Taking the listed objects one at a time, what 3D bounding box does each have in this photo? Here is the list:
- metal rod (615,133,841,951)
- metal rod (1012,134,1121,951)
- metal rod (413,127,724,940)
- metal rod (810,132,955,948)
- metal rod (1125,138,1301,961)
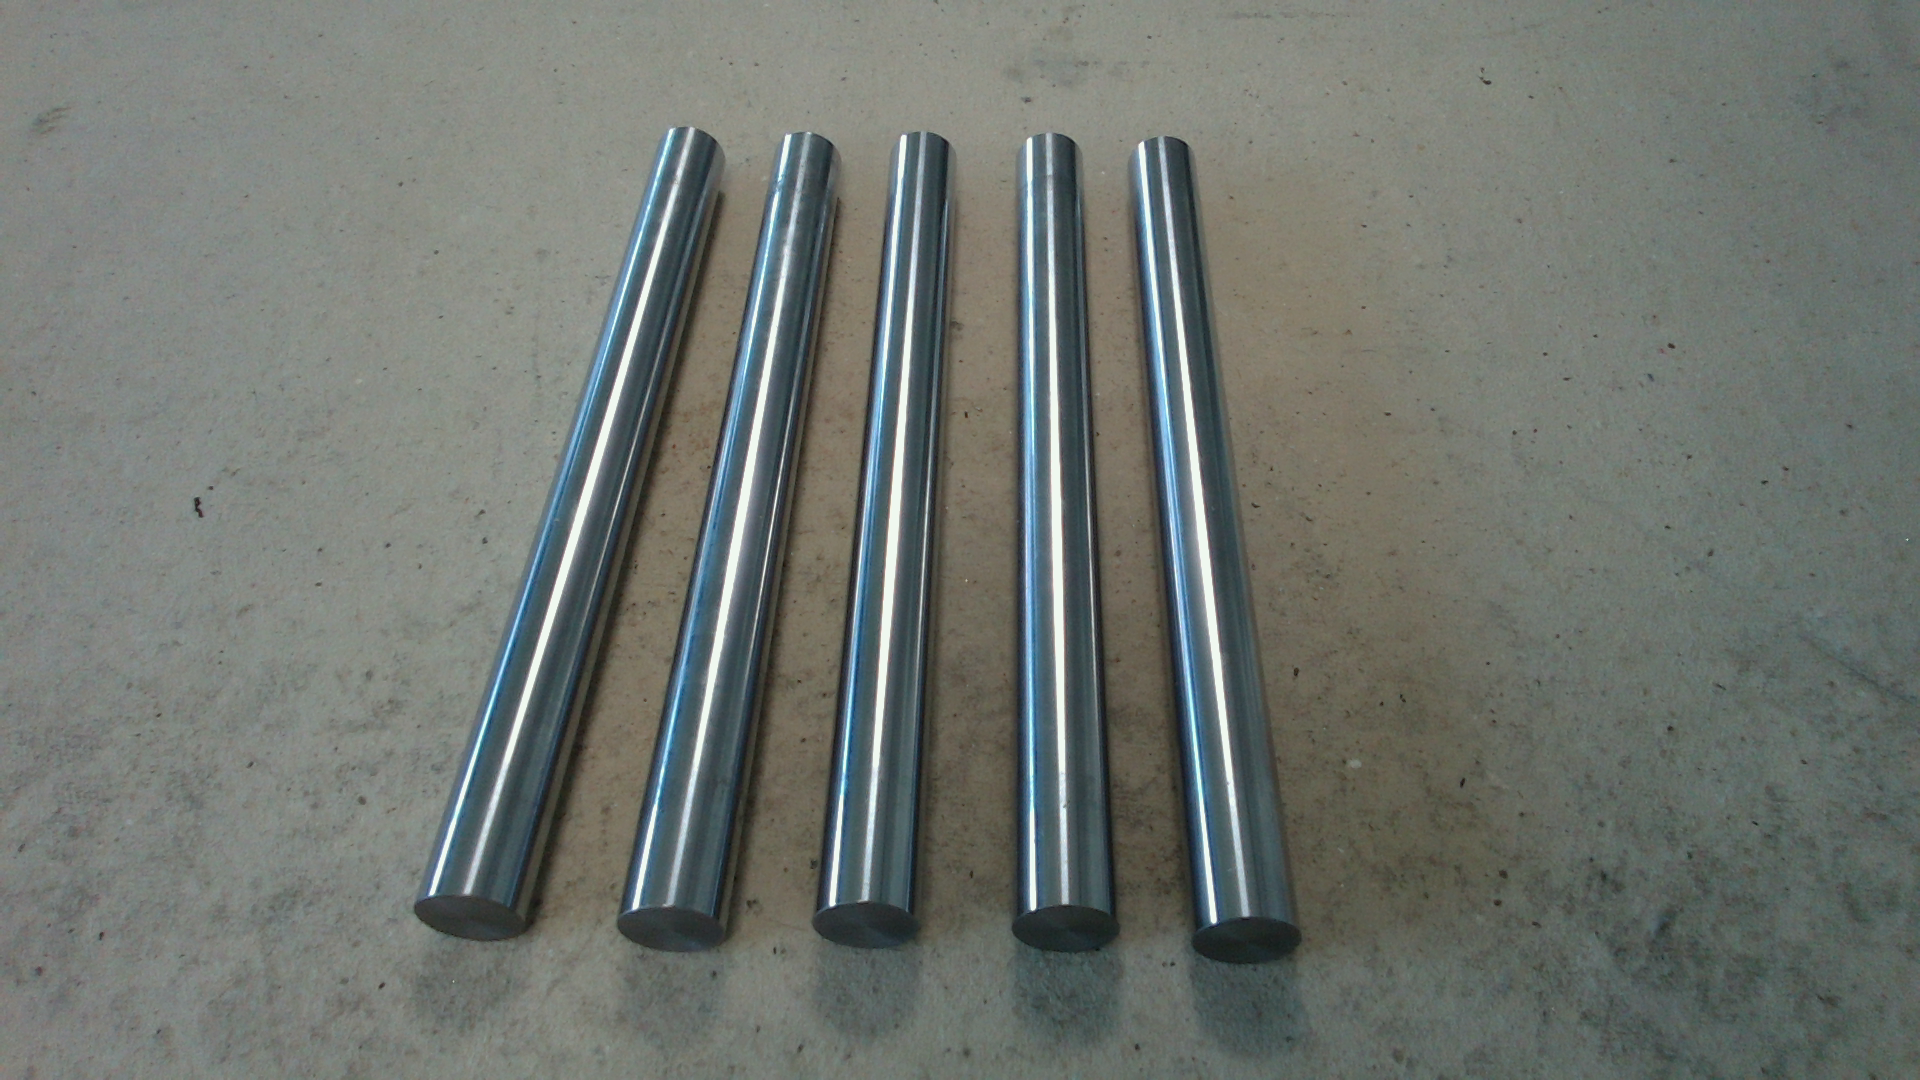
[{"bbox_3d":[-0.062,-0.025,0.413,0.025,0.025,0.300,1,50,1],"label":"metal rod"},{"bbox_3d":[0.028,-0.025,0.413,0.025,0.025,0.300,1,50,1],"label":"metal rod"},{"bbox_3d":[-0.106,-0.028,0.413,0.025,0.025,0.300,2,50,2],"label":"metal rod"},{"bbox_3d":[-0.018,-0.026,0.413,0.025,0.025,0.300,1,50,1],"label":"metal rod"},{"bbox_3d":[0.069,-0.023,0.411,0.025,0.025,0.300,1,50,1],"label":"metal rod"}]
